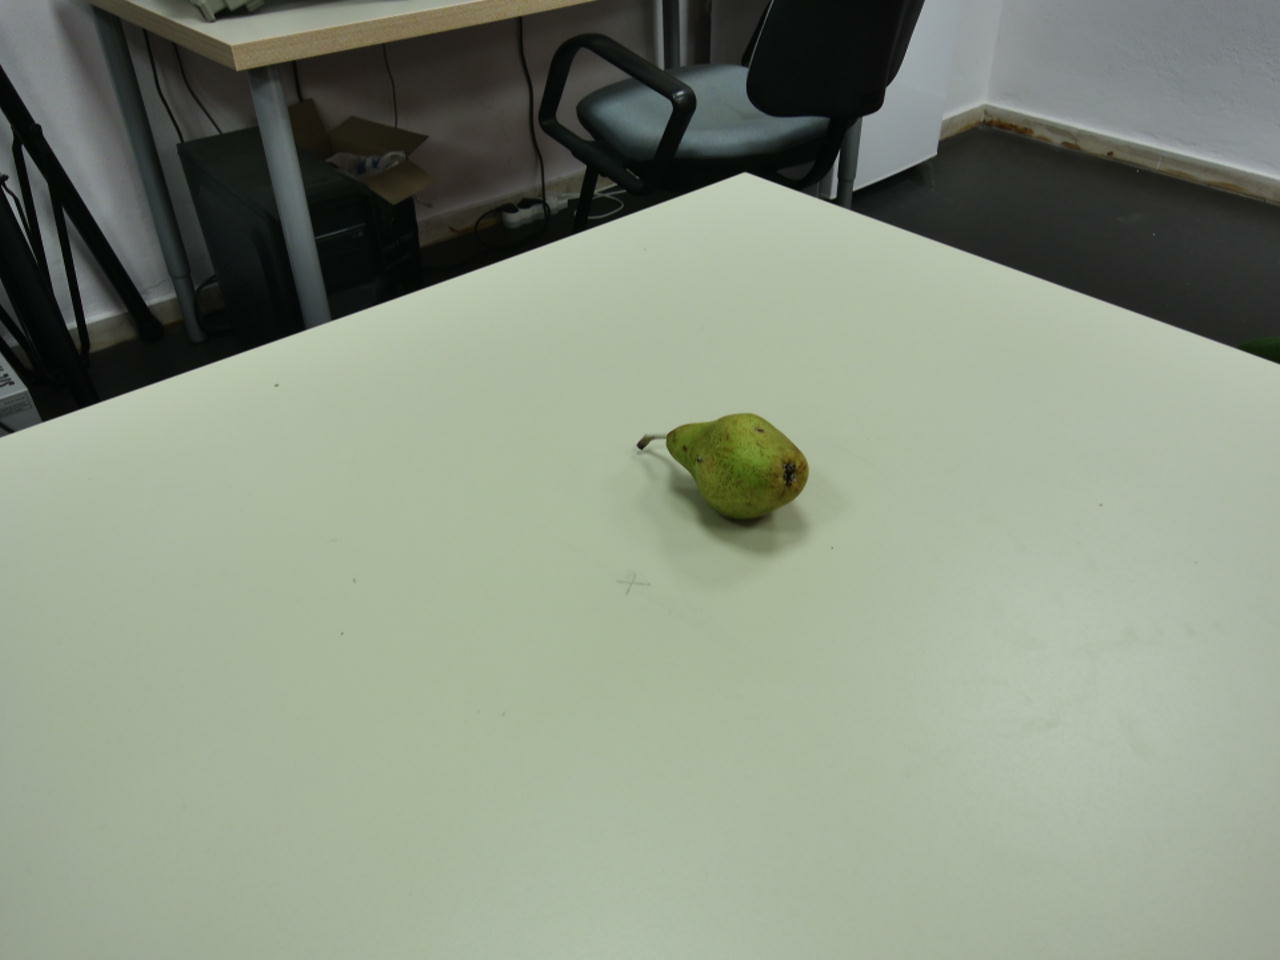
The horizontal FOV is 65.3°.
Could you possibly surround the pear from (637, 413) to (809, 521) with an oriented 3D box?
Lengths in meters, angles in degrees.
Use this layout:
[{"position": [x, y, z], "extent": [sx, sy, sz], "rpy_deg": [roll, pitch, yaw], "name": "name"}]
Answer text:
[{"position": [0.047, -0.017, 0.548], "extent": [0.056, 0.056, 0.111], "rpy_deg": [-16, 38, -19], "name": "pear"}]
